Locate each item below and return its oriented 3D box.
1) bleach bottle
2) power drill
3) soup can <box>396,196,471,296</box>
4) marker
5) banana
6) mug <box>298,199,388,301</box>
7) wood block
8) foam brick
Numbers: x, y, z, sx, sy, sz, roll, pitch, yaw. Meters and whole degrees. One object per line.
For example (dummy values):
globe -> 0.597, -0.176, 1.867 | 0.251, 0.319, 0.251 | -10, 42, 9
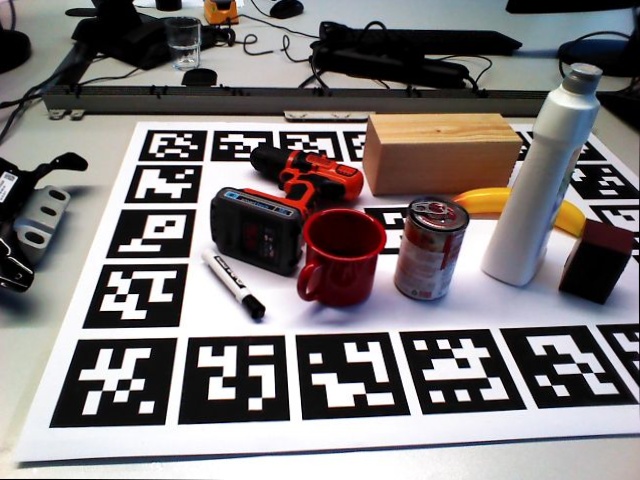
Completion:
bleach bottle -> 0.251, -0.070, 0.568 | 0.068, 0.252, 0.102 | 18, 41, 19
power drill -> -0.042, -0.058, 0.697 | 0.185, 0.057, 0.185 | 20, 41, 16
soup can -> 0.125, 0.004, 0.578 | 0.068, 0.102, 0.067 | 3, 35, -2
marker -> -0.100, 0.049, 0.588 | 0.019, 0.020, 0.121 | -24, 47, -25
banana -> 0.274, -0.055, 0.715 | 0.198, 0.039, 0.074 | 11, 54, 6
mug -> 0.017, 0.020, 0.576 | 0.093, 0.082, 0.116 | 31, 50, 27
wood block -> 0.188, -0.127, 0.764 | 0.206, 0.091, 0.089 | -1, 41, -5
foam brick -> 0.329, 0.027, 0.594 | 0.053, 0.078, 0.051 | 20, 40, 23
